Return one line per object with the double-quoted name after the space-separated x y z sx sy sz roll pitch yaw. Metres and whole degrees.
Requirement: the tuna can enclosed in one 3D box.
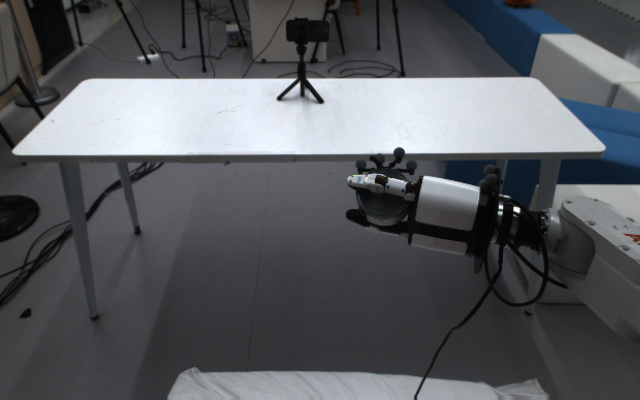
0.099 -0.005 0.744 0.085 0.034 0.085 -4 61 7 "tuna can"
